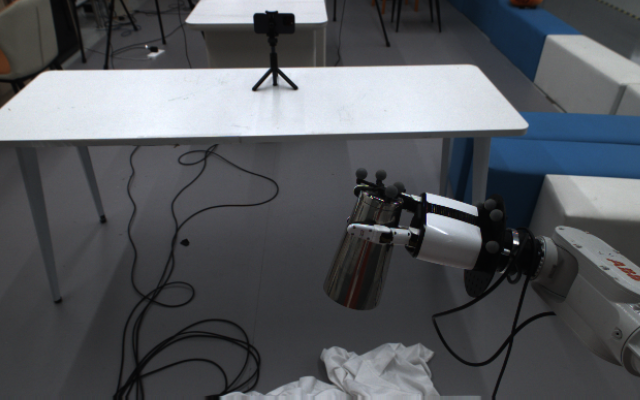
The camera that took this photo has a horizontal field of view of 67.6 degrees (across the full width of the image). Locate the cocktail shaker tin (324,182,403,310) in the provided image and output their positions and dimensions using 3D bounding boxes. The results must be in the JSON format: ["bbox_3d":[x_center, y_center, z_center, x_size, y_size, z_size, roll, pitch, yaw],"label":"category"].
[{"bbox_3d":[0.072,0.066,0.739,0.093,0.170,0.093,14,19,-5],"label":"cocktail shaker tin"}]
